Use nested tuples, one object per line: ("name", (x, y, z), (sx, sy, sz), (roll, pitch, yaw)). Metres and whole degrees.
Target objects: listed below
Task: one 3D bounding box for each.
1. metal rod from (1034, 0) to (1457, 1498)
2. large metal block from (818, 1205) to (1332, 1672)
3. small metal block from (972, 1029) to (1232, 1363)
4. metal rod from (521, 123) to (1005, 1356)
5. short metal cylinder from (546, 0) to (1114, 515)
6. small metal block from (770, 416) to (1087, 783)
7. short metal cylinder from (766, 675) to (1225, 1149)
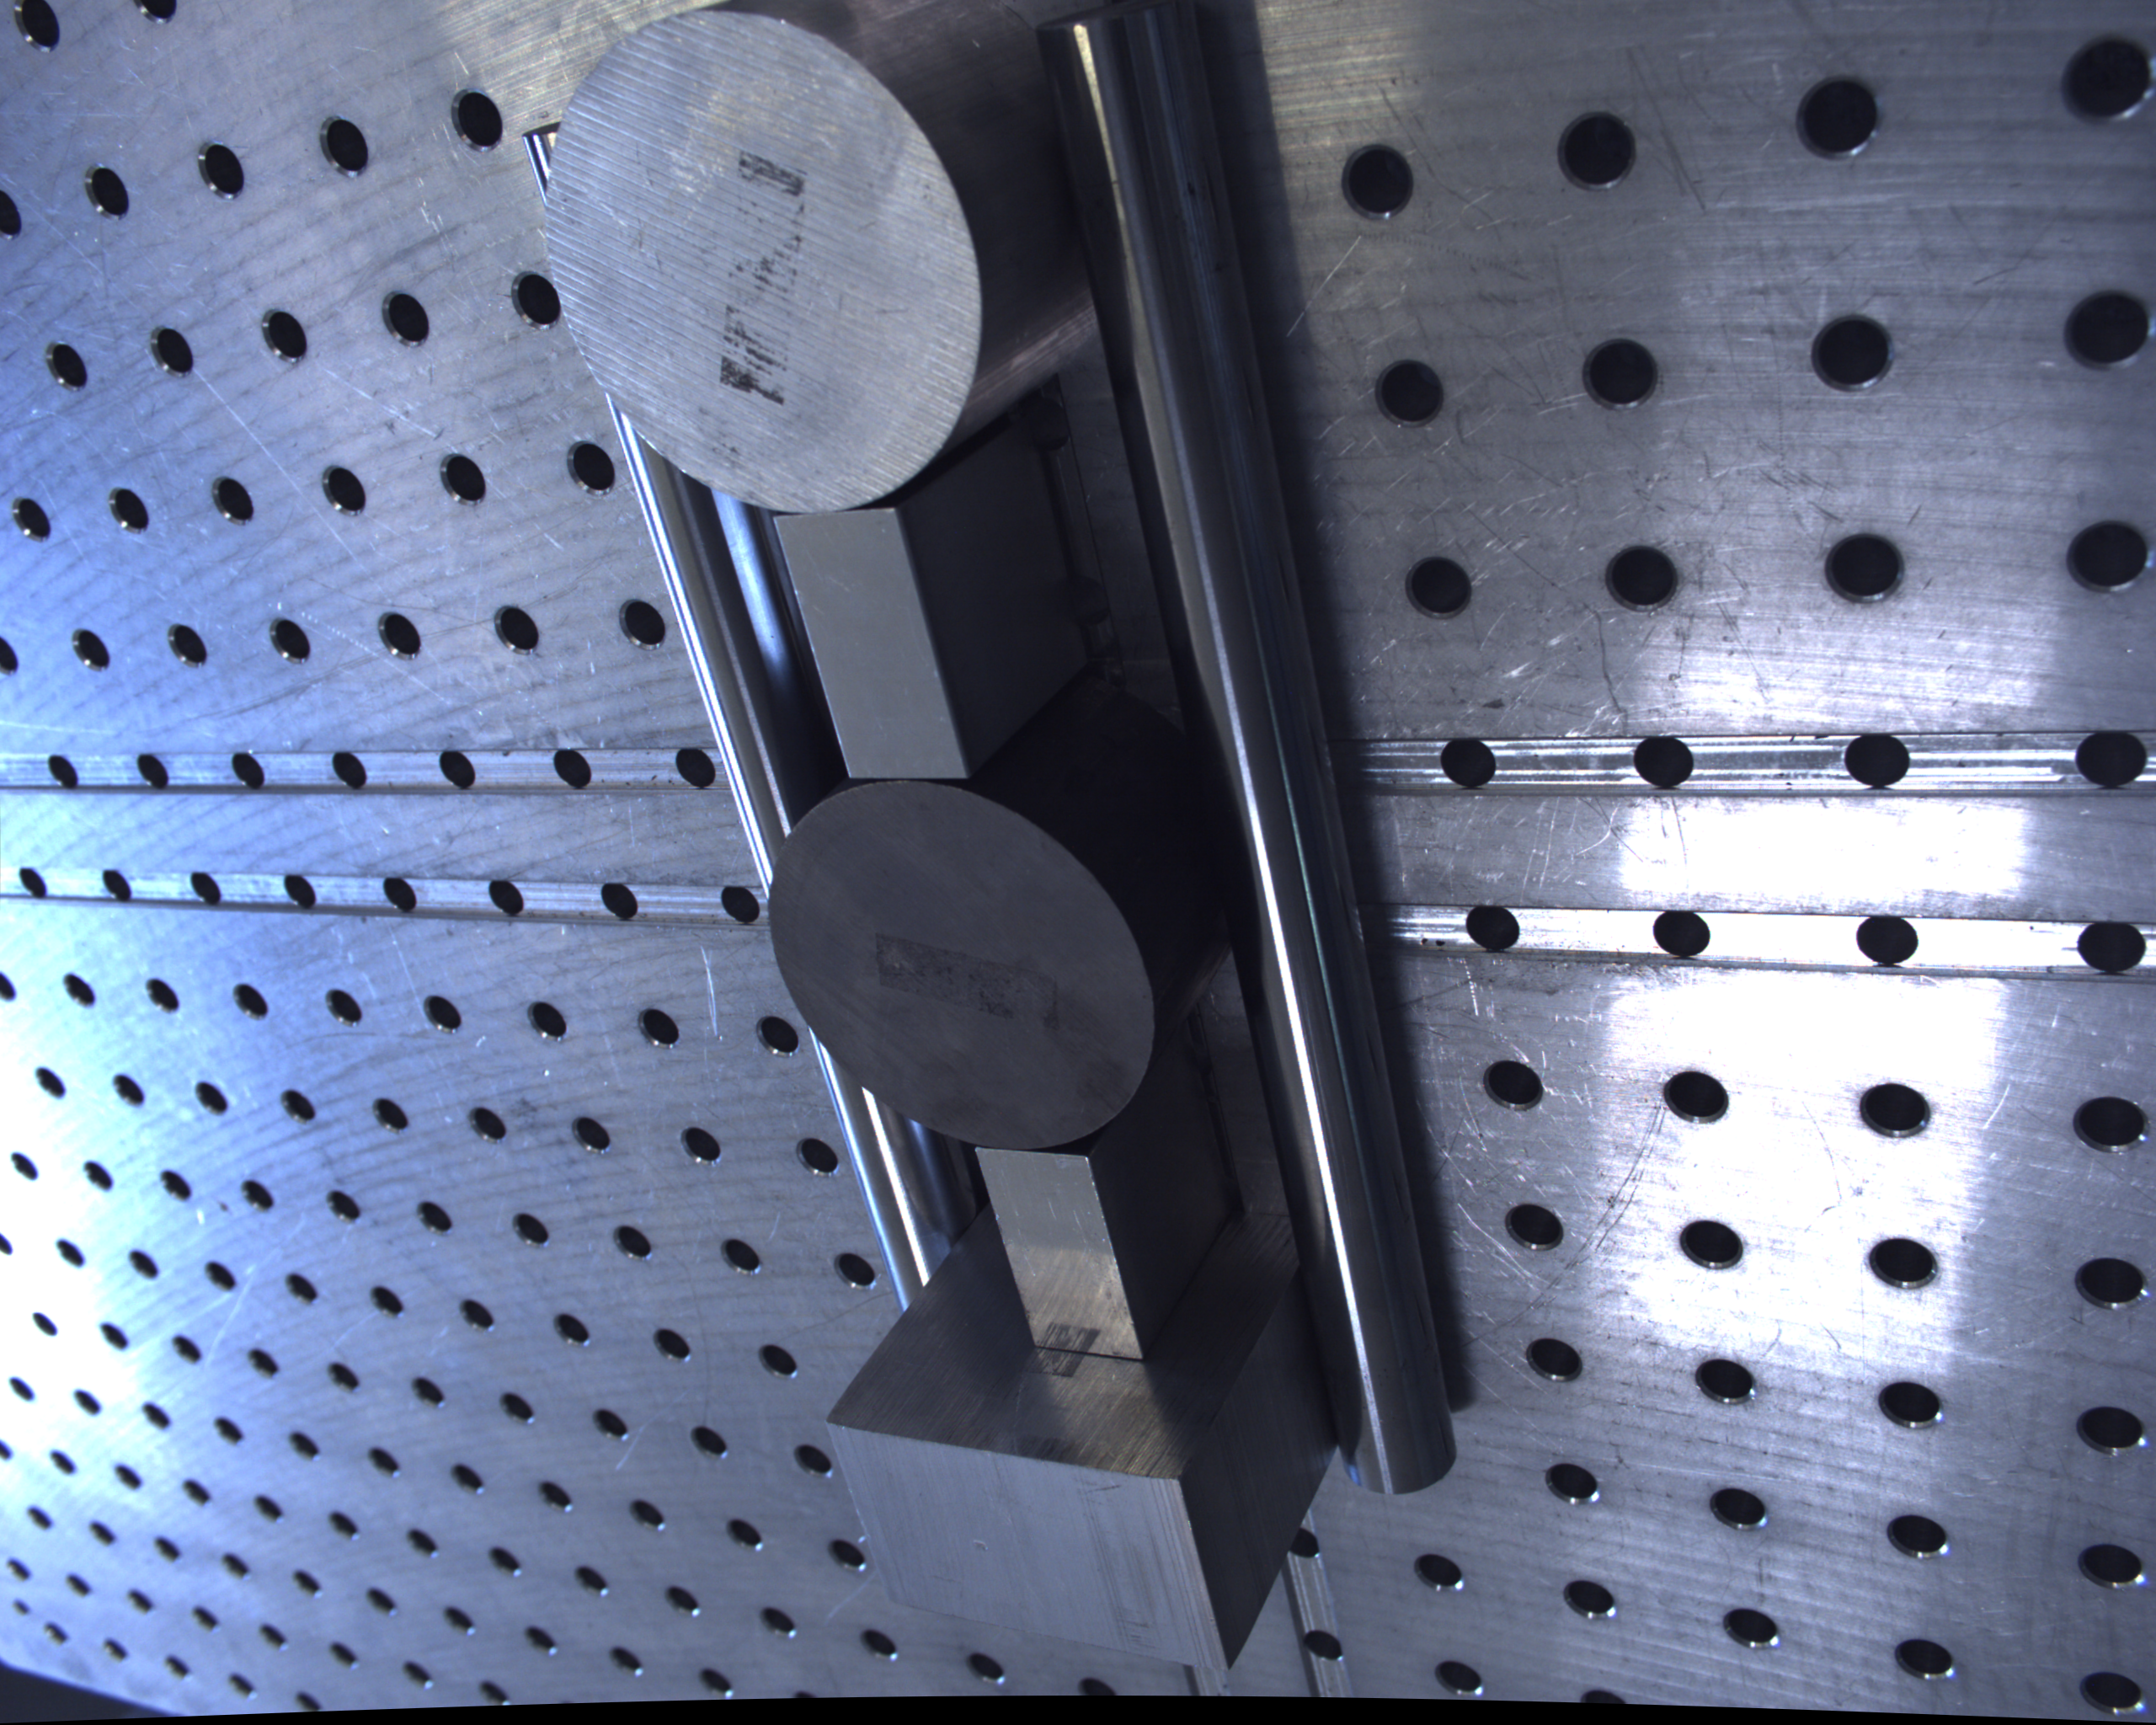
("metal rod", (0.037, -0.002, 0.389), (0.025, 0.025, 0.298), (1, 119, 28))
("large metal block", (0.005, 0.116, 0.445), (0.080, 0.080, 0.050), (1, 119, 28))
("small metal block", (0.006, 0.066, 0.431), (0.025, 0.050, 0.050), (0, 119, 28))
("metal rod", (-0.055, -0.003, 0.438), (0.025, 0.025, 0.298), (1, 119, 28))
("short metal cylinder", (-0.041, -0.105, 0.351), (0.080, 0.050, 0.079), (13, 124, 21))
("small metal block", (-0.025, -0.048, 0.377), (0.025, 0.050, 0.050), (1, 119, 28))
("short metal cylinder", (-0.013, 0.009, 0.407), (0.080, 0.050, 0.079), (13, 124, 21))
